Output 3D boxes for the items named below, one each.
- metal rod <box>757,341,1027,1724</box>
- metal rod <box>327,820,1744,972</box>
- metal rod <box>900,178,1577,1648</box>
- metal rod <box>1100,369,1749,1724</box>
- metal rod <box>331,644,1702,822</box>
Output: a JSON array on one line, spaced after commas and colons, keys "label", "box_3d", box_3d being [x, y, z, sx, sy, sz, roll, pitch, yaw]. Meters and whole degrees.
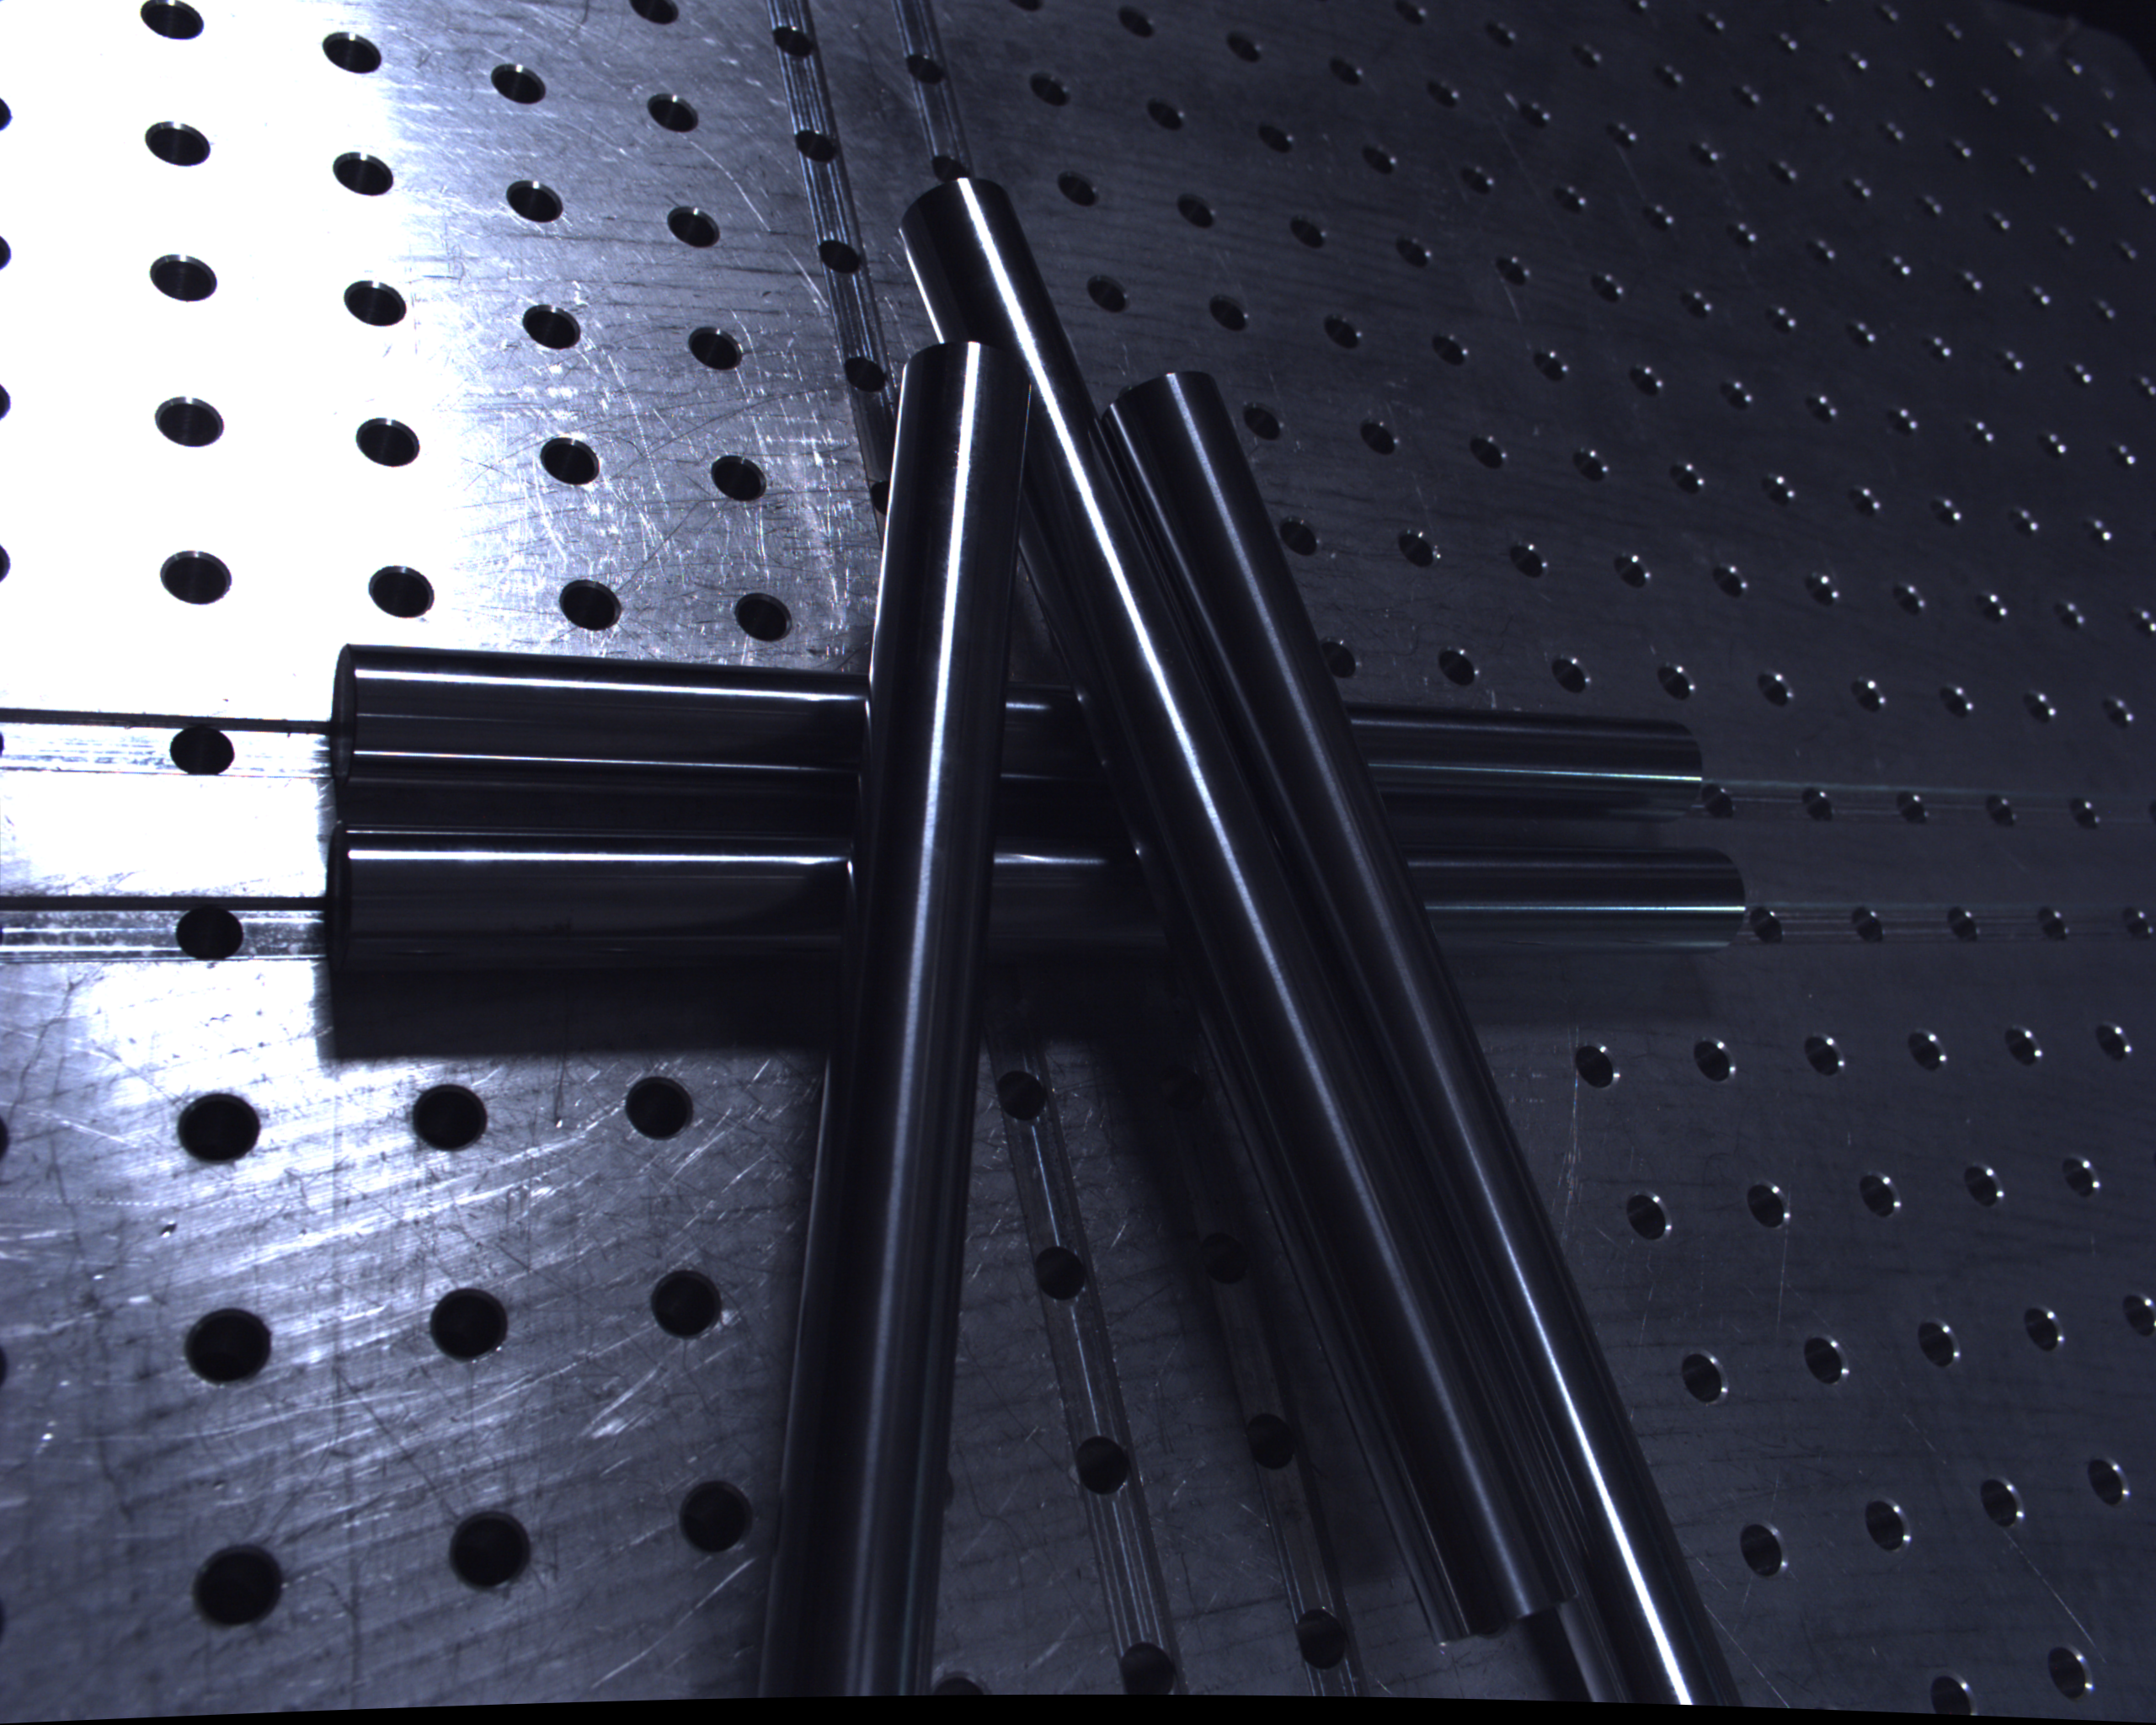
[{"label": "metal rod", "box_3d": [-0.030, 0.041, 0.344, 0.025, 0.025, 0.299, 14, 63, -21]}, {"label": "metal rod", "box_3d": [0.012, 0.007, 0.412, 0.303, 0.025, 0.025, 1, 62, -28]}, {"label": "metal rod", "box_3d": [0.022, -0.007, 0.394, 0.025, 0.025, 0.299, -6, 65, -31]}, {"label": "metal rod", "box_3d": [0.065, 0.042, 0.395, 0.025, 0.025, 0.299, -11, 75, -33]}, {"label": "metal rod", "box_3d": [0.007, -0.023, 0.428, 0.303, 0.025, 0.025, 1, 62, -28]}]
